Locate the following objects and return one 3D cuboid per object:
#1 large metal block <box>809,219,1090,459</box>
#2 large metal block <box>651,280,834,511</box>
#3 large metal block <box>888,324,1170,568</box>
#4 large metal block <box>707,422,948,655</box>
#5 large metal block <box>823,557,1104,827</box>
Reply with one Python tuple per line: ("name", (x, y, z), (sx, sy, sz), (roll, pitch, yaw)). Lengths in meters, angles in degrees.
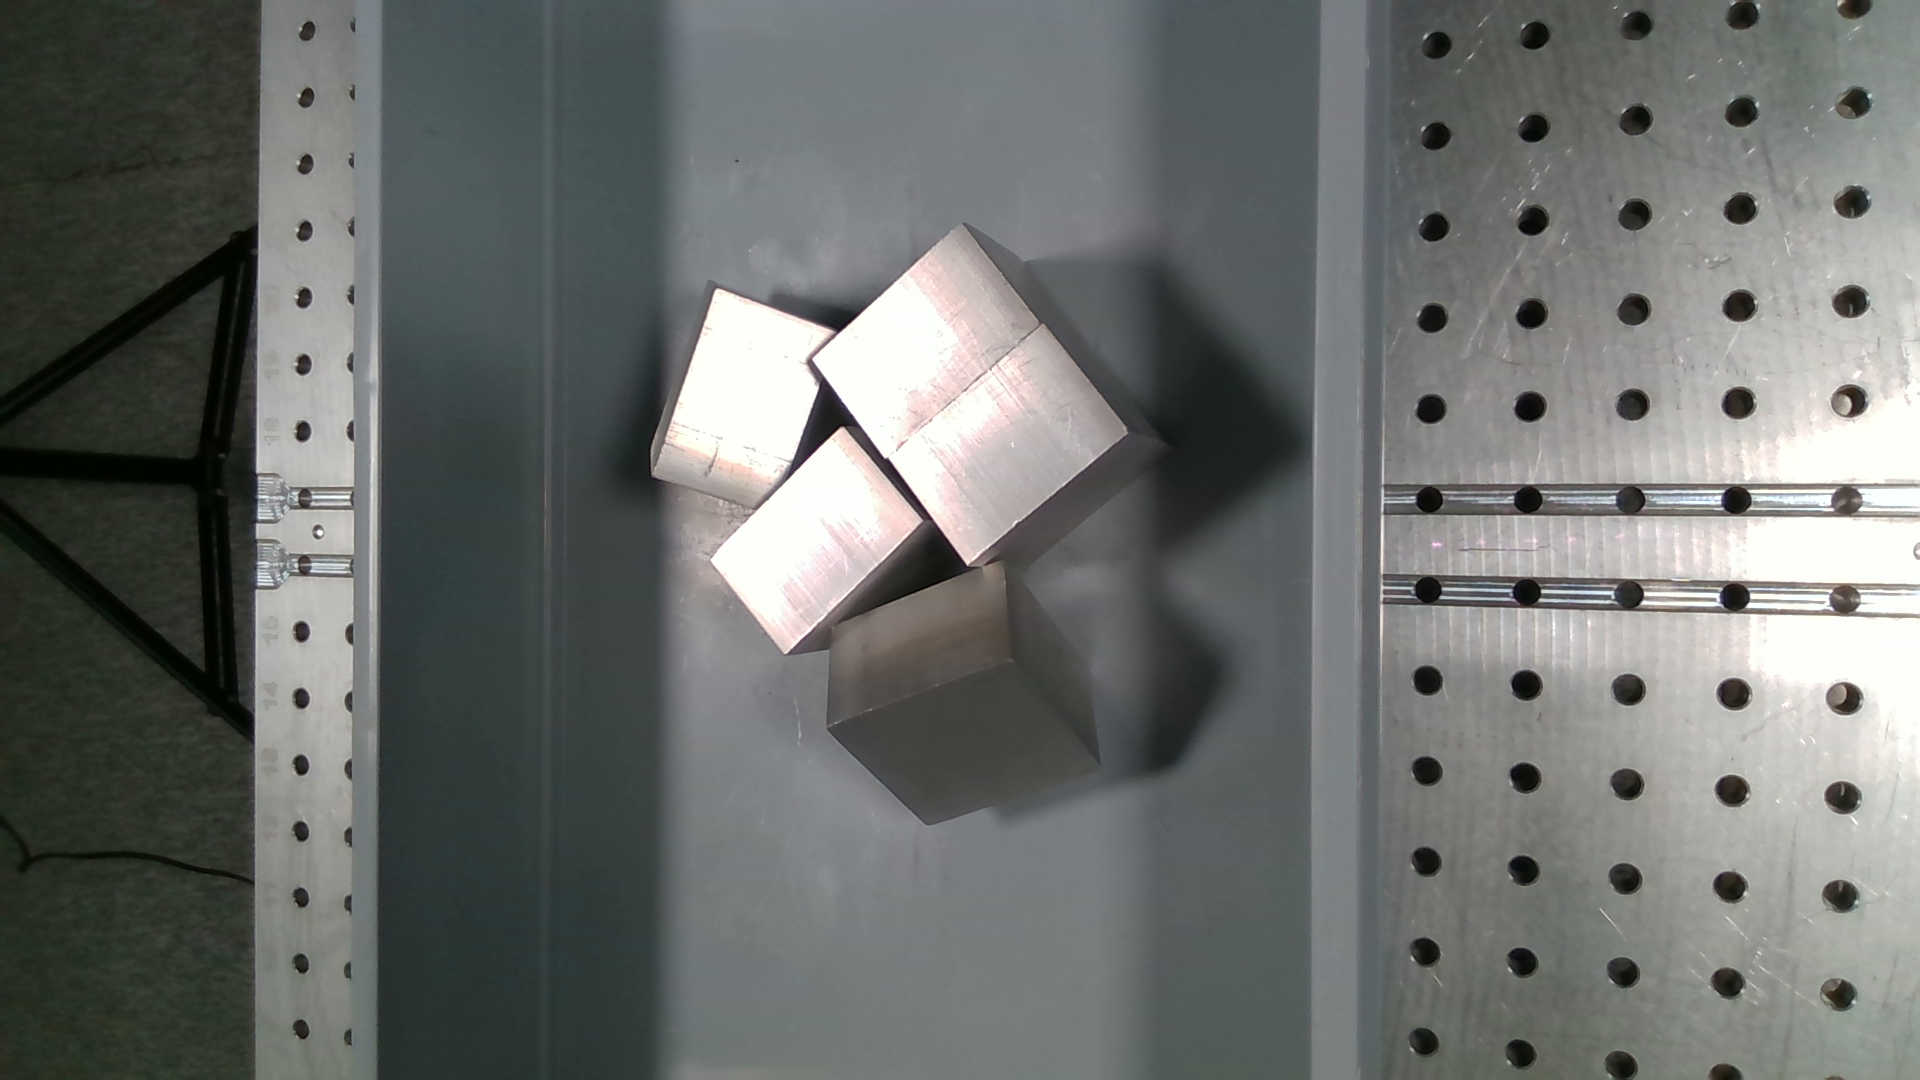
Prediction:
("large metal block", (-0.001, -0.075, 0.555), (0.080, 0.080, 0.050), (-39, 77, 16))
("large metal block", (-0.094, -0.063, 0.582), (0.050, 0.080, 0.080), (18, 98, -16))
("large metal block", (0.031, -0.034, 0.543), (0.080, 0.080, 0.050), (-40, 77, 16))
("large metal block", (-0.044, 0.000, 0.571), (0.080, 0.080, 0.050), (-44, 76, 15))
("large metal block", (0.002, 0.063, 0.548), (0.080, 0.080, 0.050), (-22, 43, 19))
